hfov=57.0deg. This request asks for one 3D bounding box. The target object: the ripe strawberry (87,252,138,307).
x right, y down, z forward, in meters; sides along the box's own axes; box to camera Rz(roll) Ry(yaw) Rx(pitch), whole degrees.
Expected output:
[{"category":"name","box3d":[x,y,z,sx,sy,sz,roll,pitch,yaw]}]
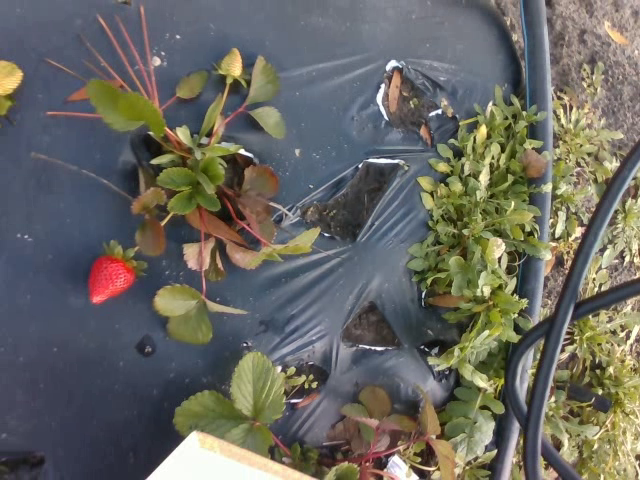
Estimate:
[{"category":"ripe strawberry","box3d":[-0.176,0.037,0.473,0.041,0.052,0.045,5,-40,27]}]
